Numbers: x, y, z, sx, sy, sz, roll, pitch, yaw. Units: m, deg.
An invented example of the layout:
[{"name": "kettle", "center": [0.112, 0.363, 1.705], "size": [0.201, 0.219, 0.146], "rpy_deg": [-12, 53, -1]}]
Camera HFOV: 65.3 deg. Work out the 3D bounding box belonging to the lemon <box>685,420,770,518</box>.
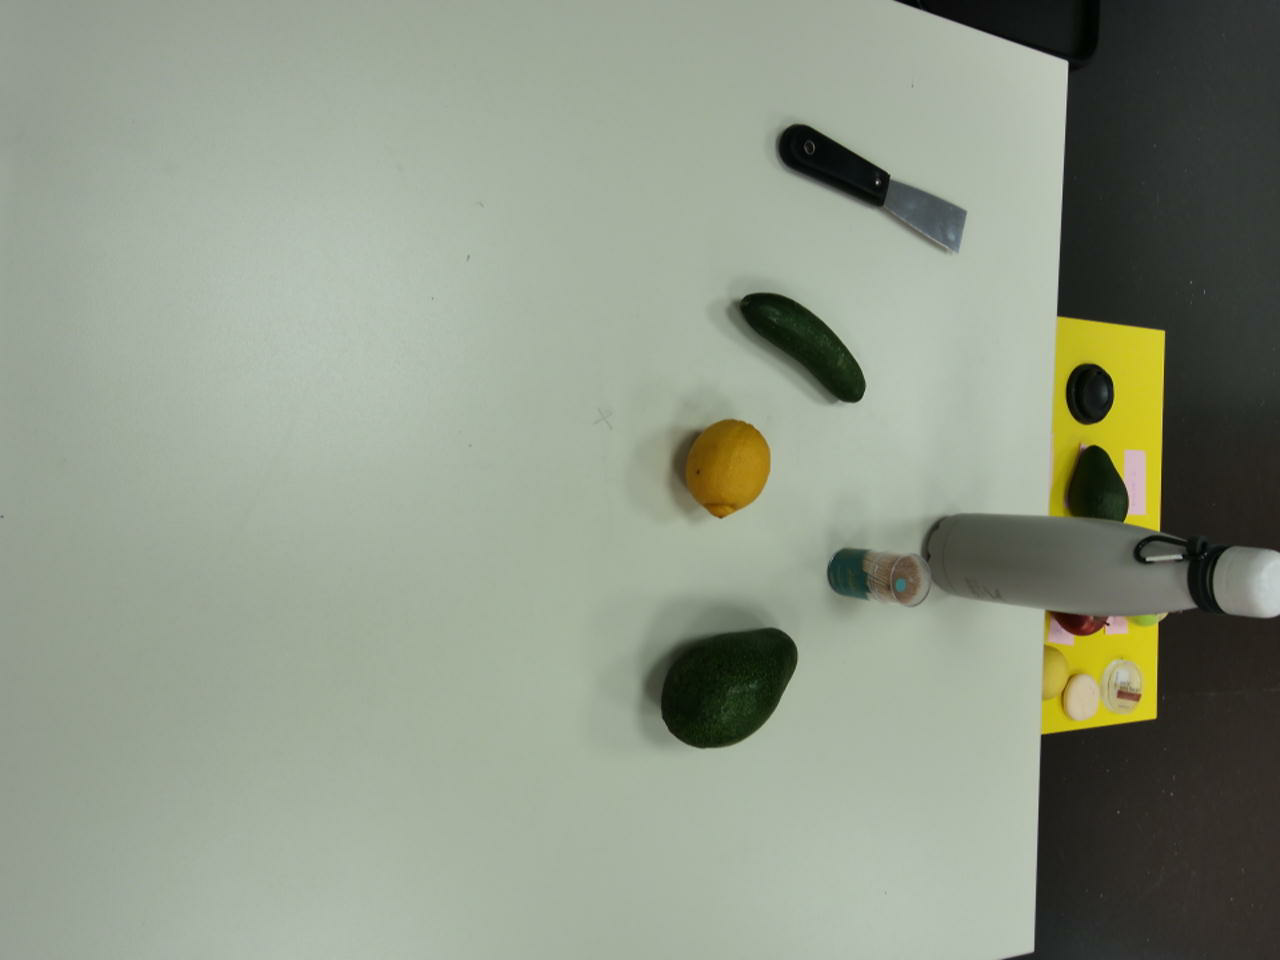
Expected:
[{"name": "lemon", "center": [0.063, -0.010, 0.721], "size": [0.061, 0.059, 0.066], "rpy_deg": [48, 69, -19]}]
